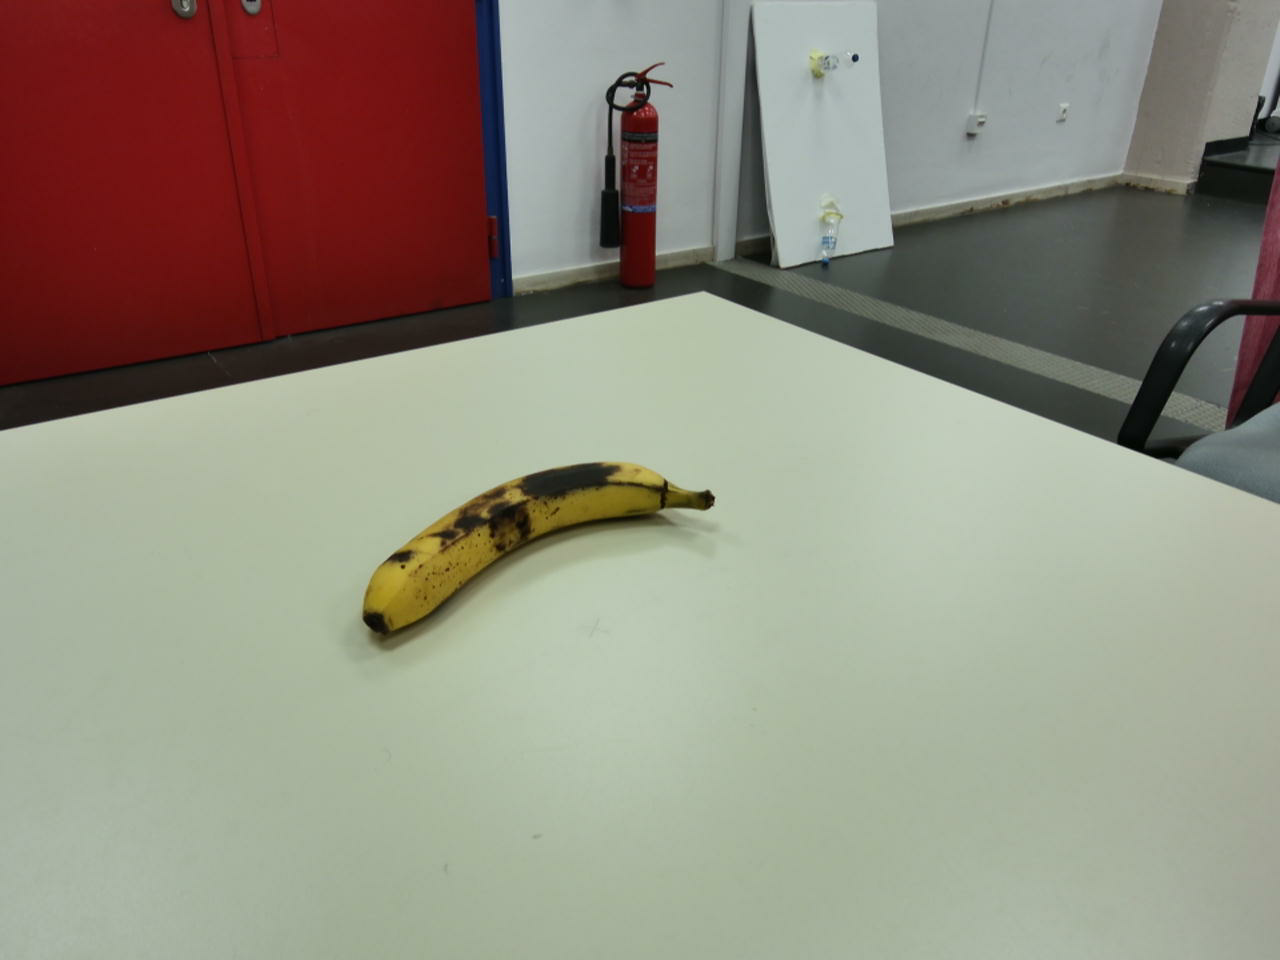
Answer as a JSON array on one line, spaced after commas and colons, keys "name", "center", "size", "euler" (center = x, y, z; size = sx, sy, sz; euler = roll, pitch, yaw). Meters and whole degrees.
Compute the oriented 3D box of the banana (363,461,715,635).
[{"name": "banana", "center": [-0.065, 0.027, 0.573], "size": [0.222, 0.037, 0.084], "euler": [-17, 31, -33]}]
